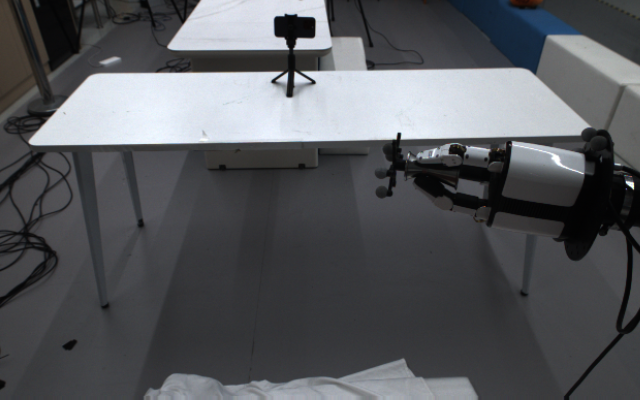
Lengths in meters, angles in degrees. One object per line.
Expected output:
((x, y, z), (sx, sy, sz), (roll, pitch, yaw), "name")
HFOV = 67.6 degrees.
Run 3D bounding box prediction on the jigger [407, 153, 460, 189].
((0.154, -0.044, 0.634), (0.071, 0.043, 0.043), (10, 35, 15), "jigger")
